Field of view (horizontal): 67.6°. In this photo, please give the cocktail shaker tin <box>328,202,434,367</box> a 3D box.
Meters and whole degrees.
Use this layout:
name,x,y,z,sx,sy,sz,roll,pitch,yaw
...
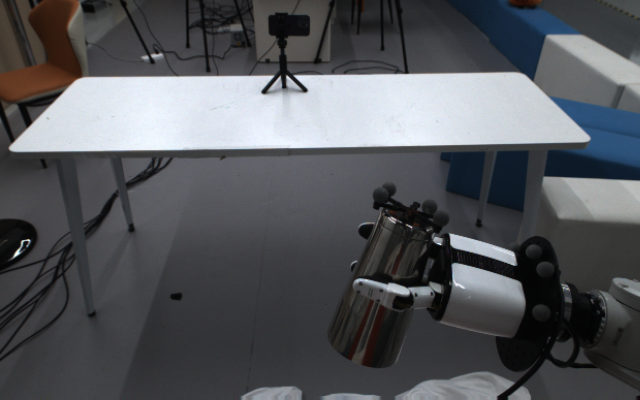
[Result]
name,x,y,z,sx,sy,sz,roll,pitch,yaw
cocktail shaker tin,0.077,0.098,0.570,0.093,0.170,0.093,15,17,-5
